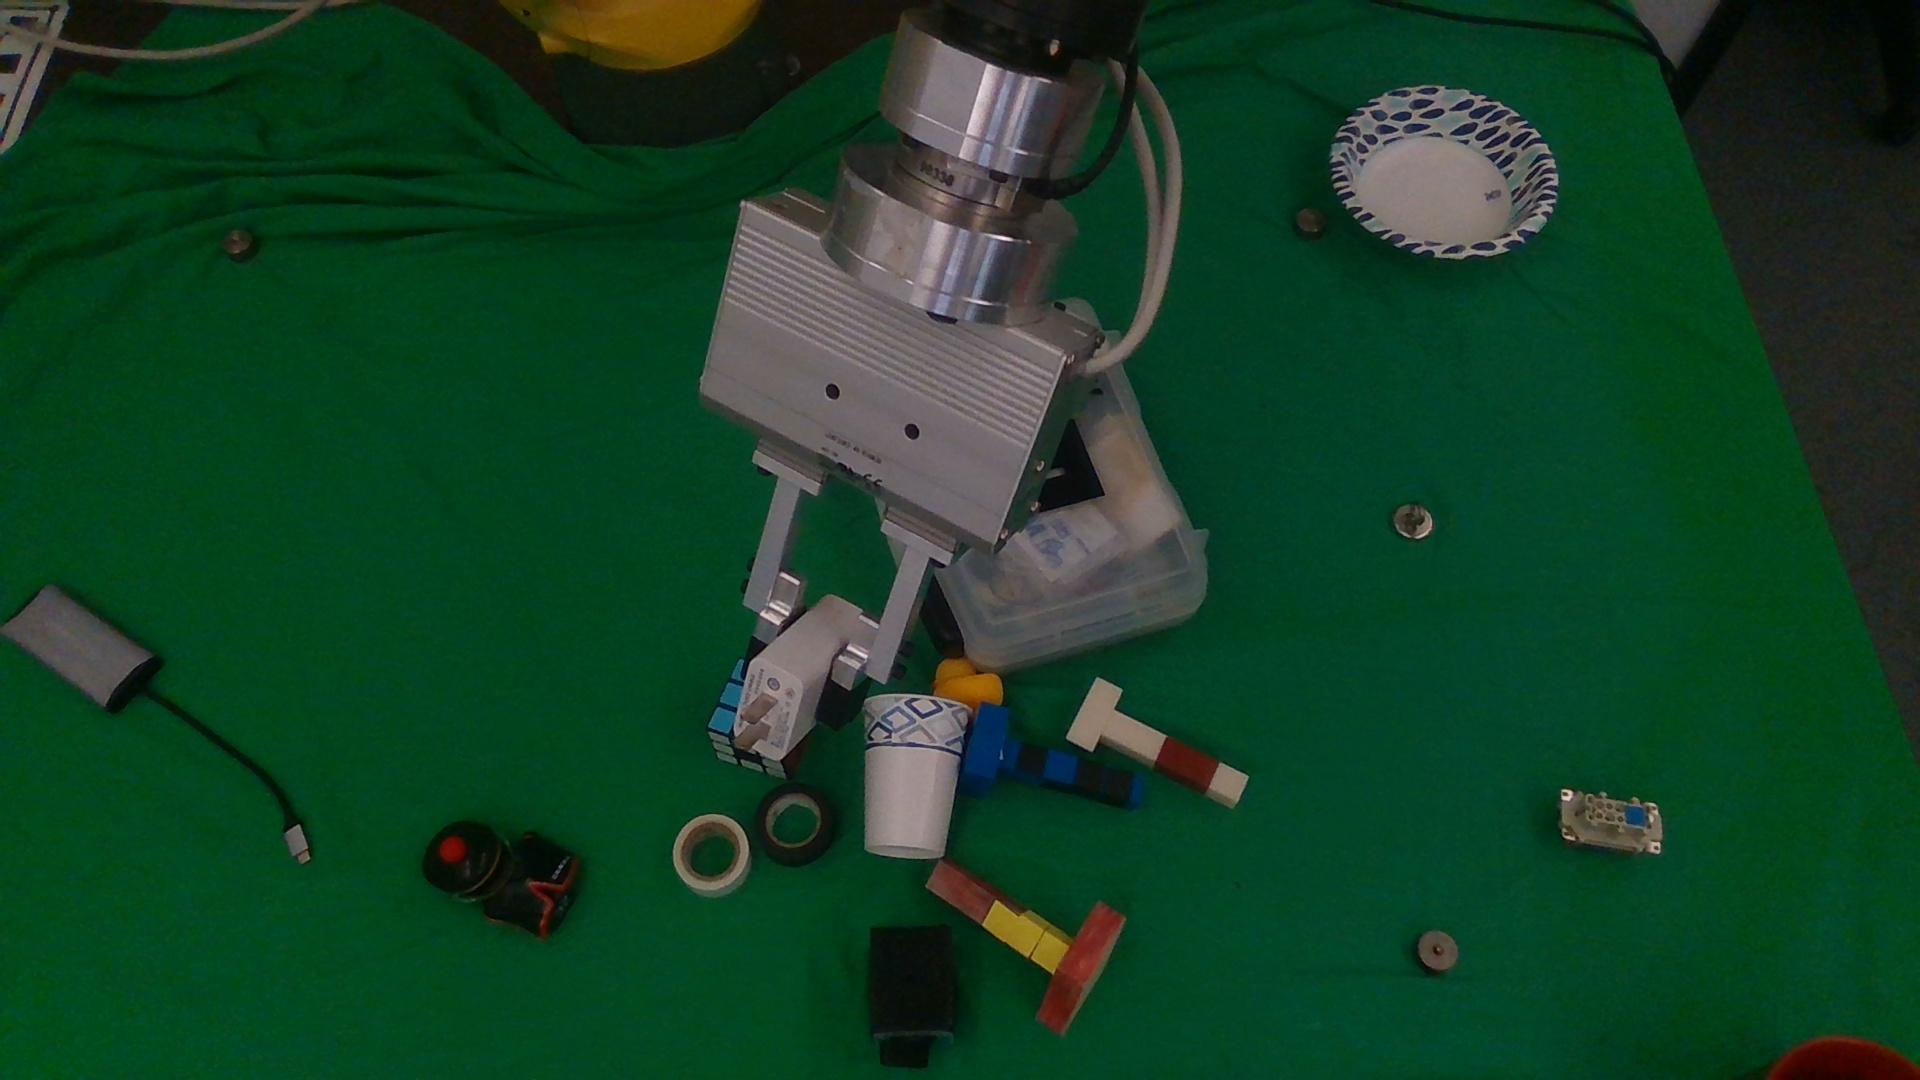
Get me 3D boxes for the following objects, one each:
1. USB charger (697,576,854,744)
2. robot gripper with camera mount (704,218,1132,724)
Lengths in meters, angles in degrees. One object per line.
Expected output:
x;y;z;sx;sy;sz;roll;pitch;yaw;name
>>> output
-0.069;0.047;0.504;0.029;0.045;0.075;28;35;17;USB charger
-0.005;-0.033;0.547;0.119;0.159;0.193;30;26;19;robot gripper with camera mount
